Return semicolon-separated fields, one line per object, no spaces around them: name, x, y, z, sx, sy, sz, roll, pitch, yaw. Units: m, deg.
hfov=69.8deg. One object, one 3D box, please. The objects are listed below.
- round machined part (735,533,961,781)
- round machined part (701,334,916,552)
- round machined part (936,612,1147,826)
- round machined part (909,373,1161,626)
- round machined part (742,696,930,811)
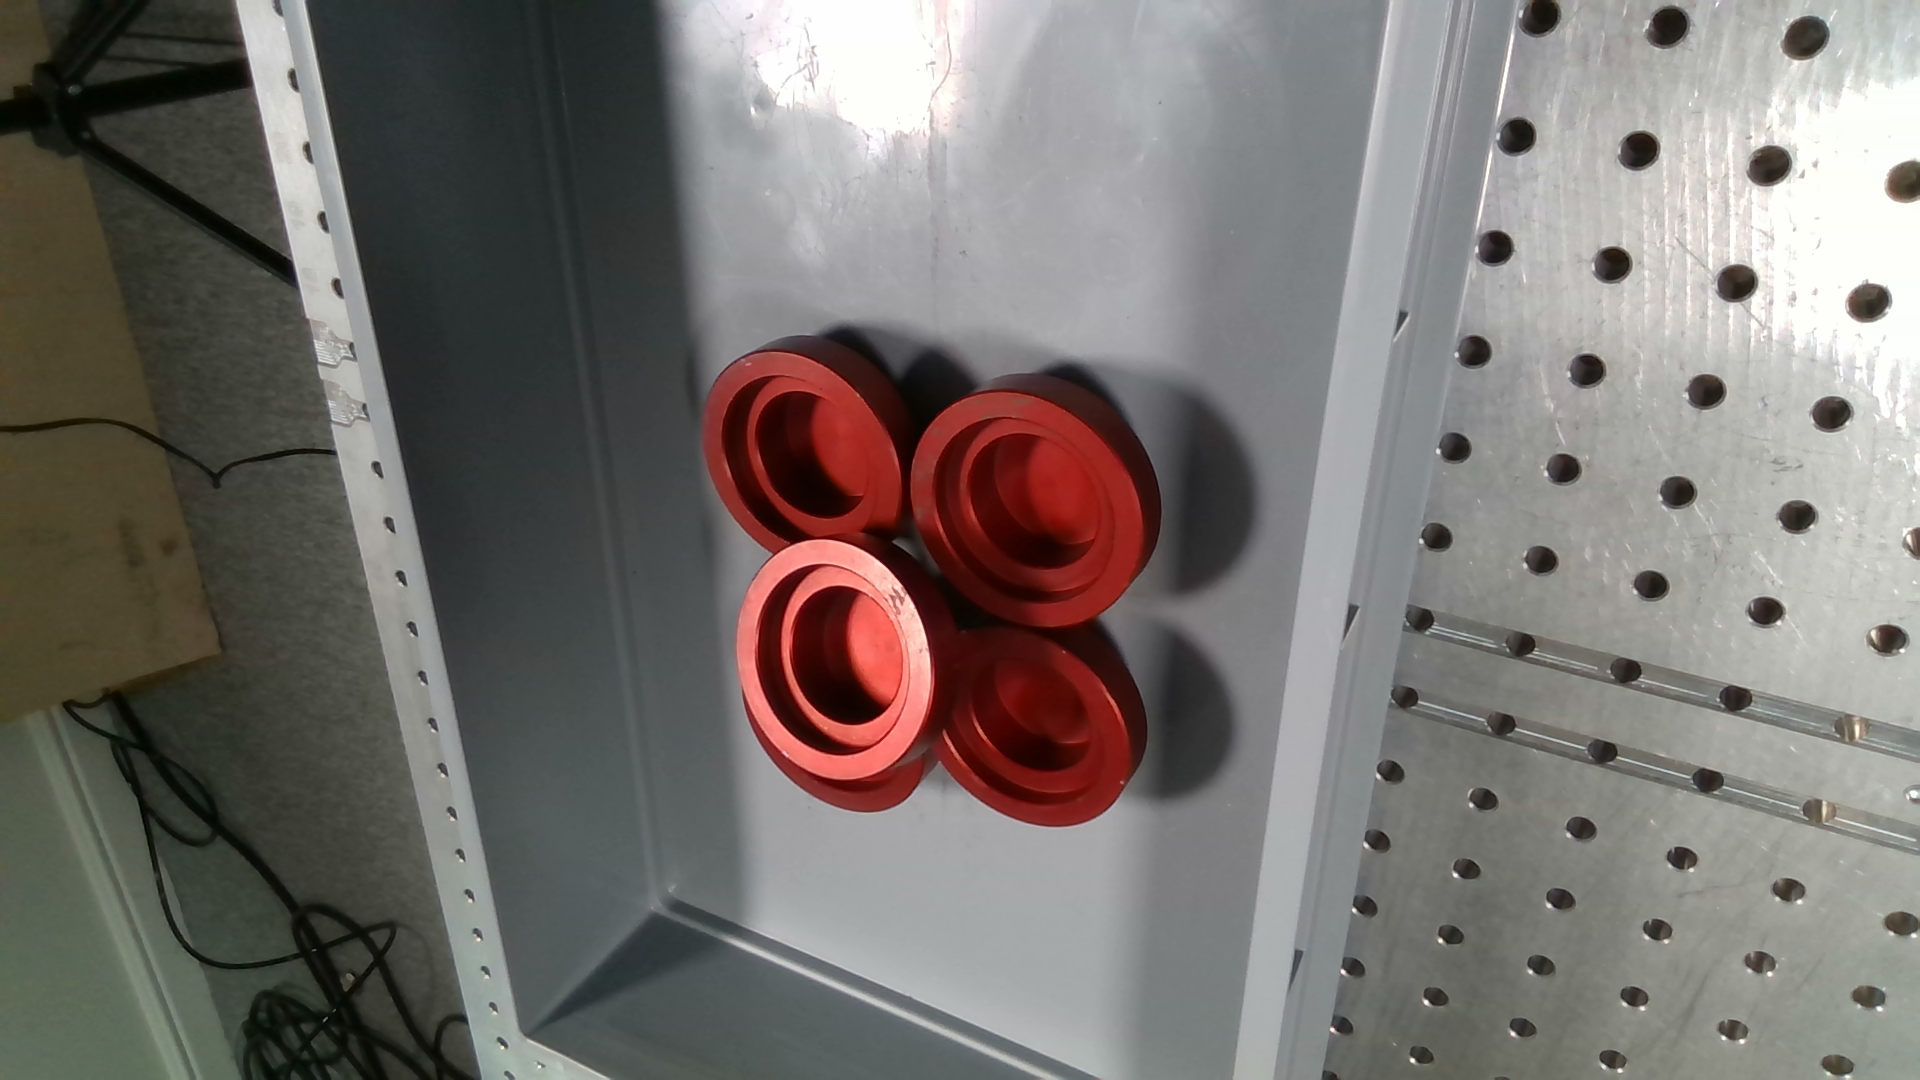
round machined part;-0.041;0.045;0.562;0.098;0.042;0.098;4;98;31
round machined part;-0.057;-0.040;0.580;0.098;0.042;0.098;14;122;25
round machined part;0.034;0.069;0.584;0.098;0.042;0.098;14;122;25
round machined part;0.033;-0.019;0.537;0.098;0.042;0.098;14;122;25
round machined part;-0.049;0.073;0.638;0.098;0.042;0.098;14;122;25
